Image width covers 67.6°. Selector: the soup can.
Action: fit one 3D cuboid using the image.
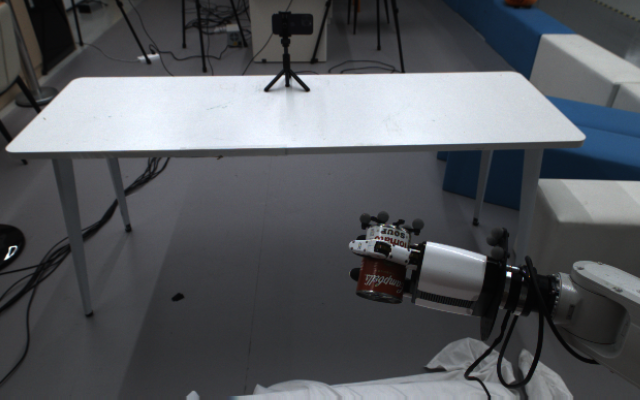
[{"bbox_3d":[0.094,0.093,0.704,0.067,0.067,0.101,9,71,9],"label":"soup can"}]
